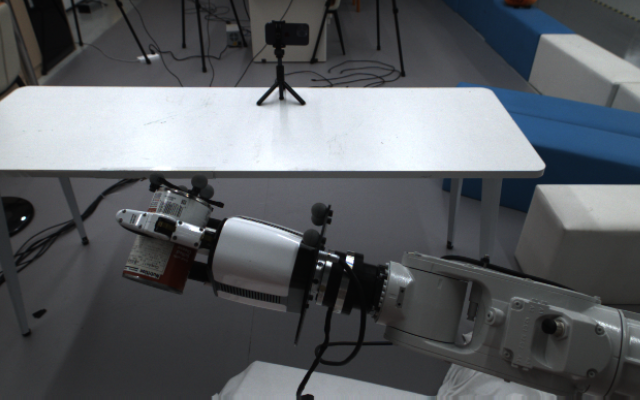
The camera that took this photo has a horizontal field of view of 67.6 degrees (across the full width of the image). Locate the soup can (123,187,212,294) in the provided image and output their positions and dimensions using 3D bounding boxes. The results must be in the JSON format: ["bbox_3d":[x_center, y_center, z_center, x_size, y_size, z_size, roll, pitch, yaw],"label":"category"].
[{"bbox_3d":[-0.166,0.047,0.534,0.067,0.067,0.101,11,72,13],"label":"soup can"}]
